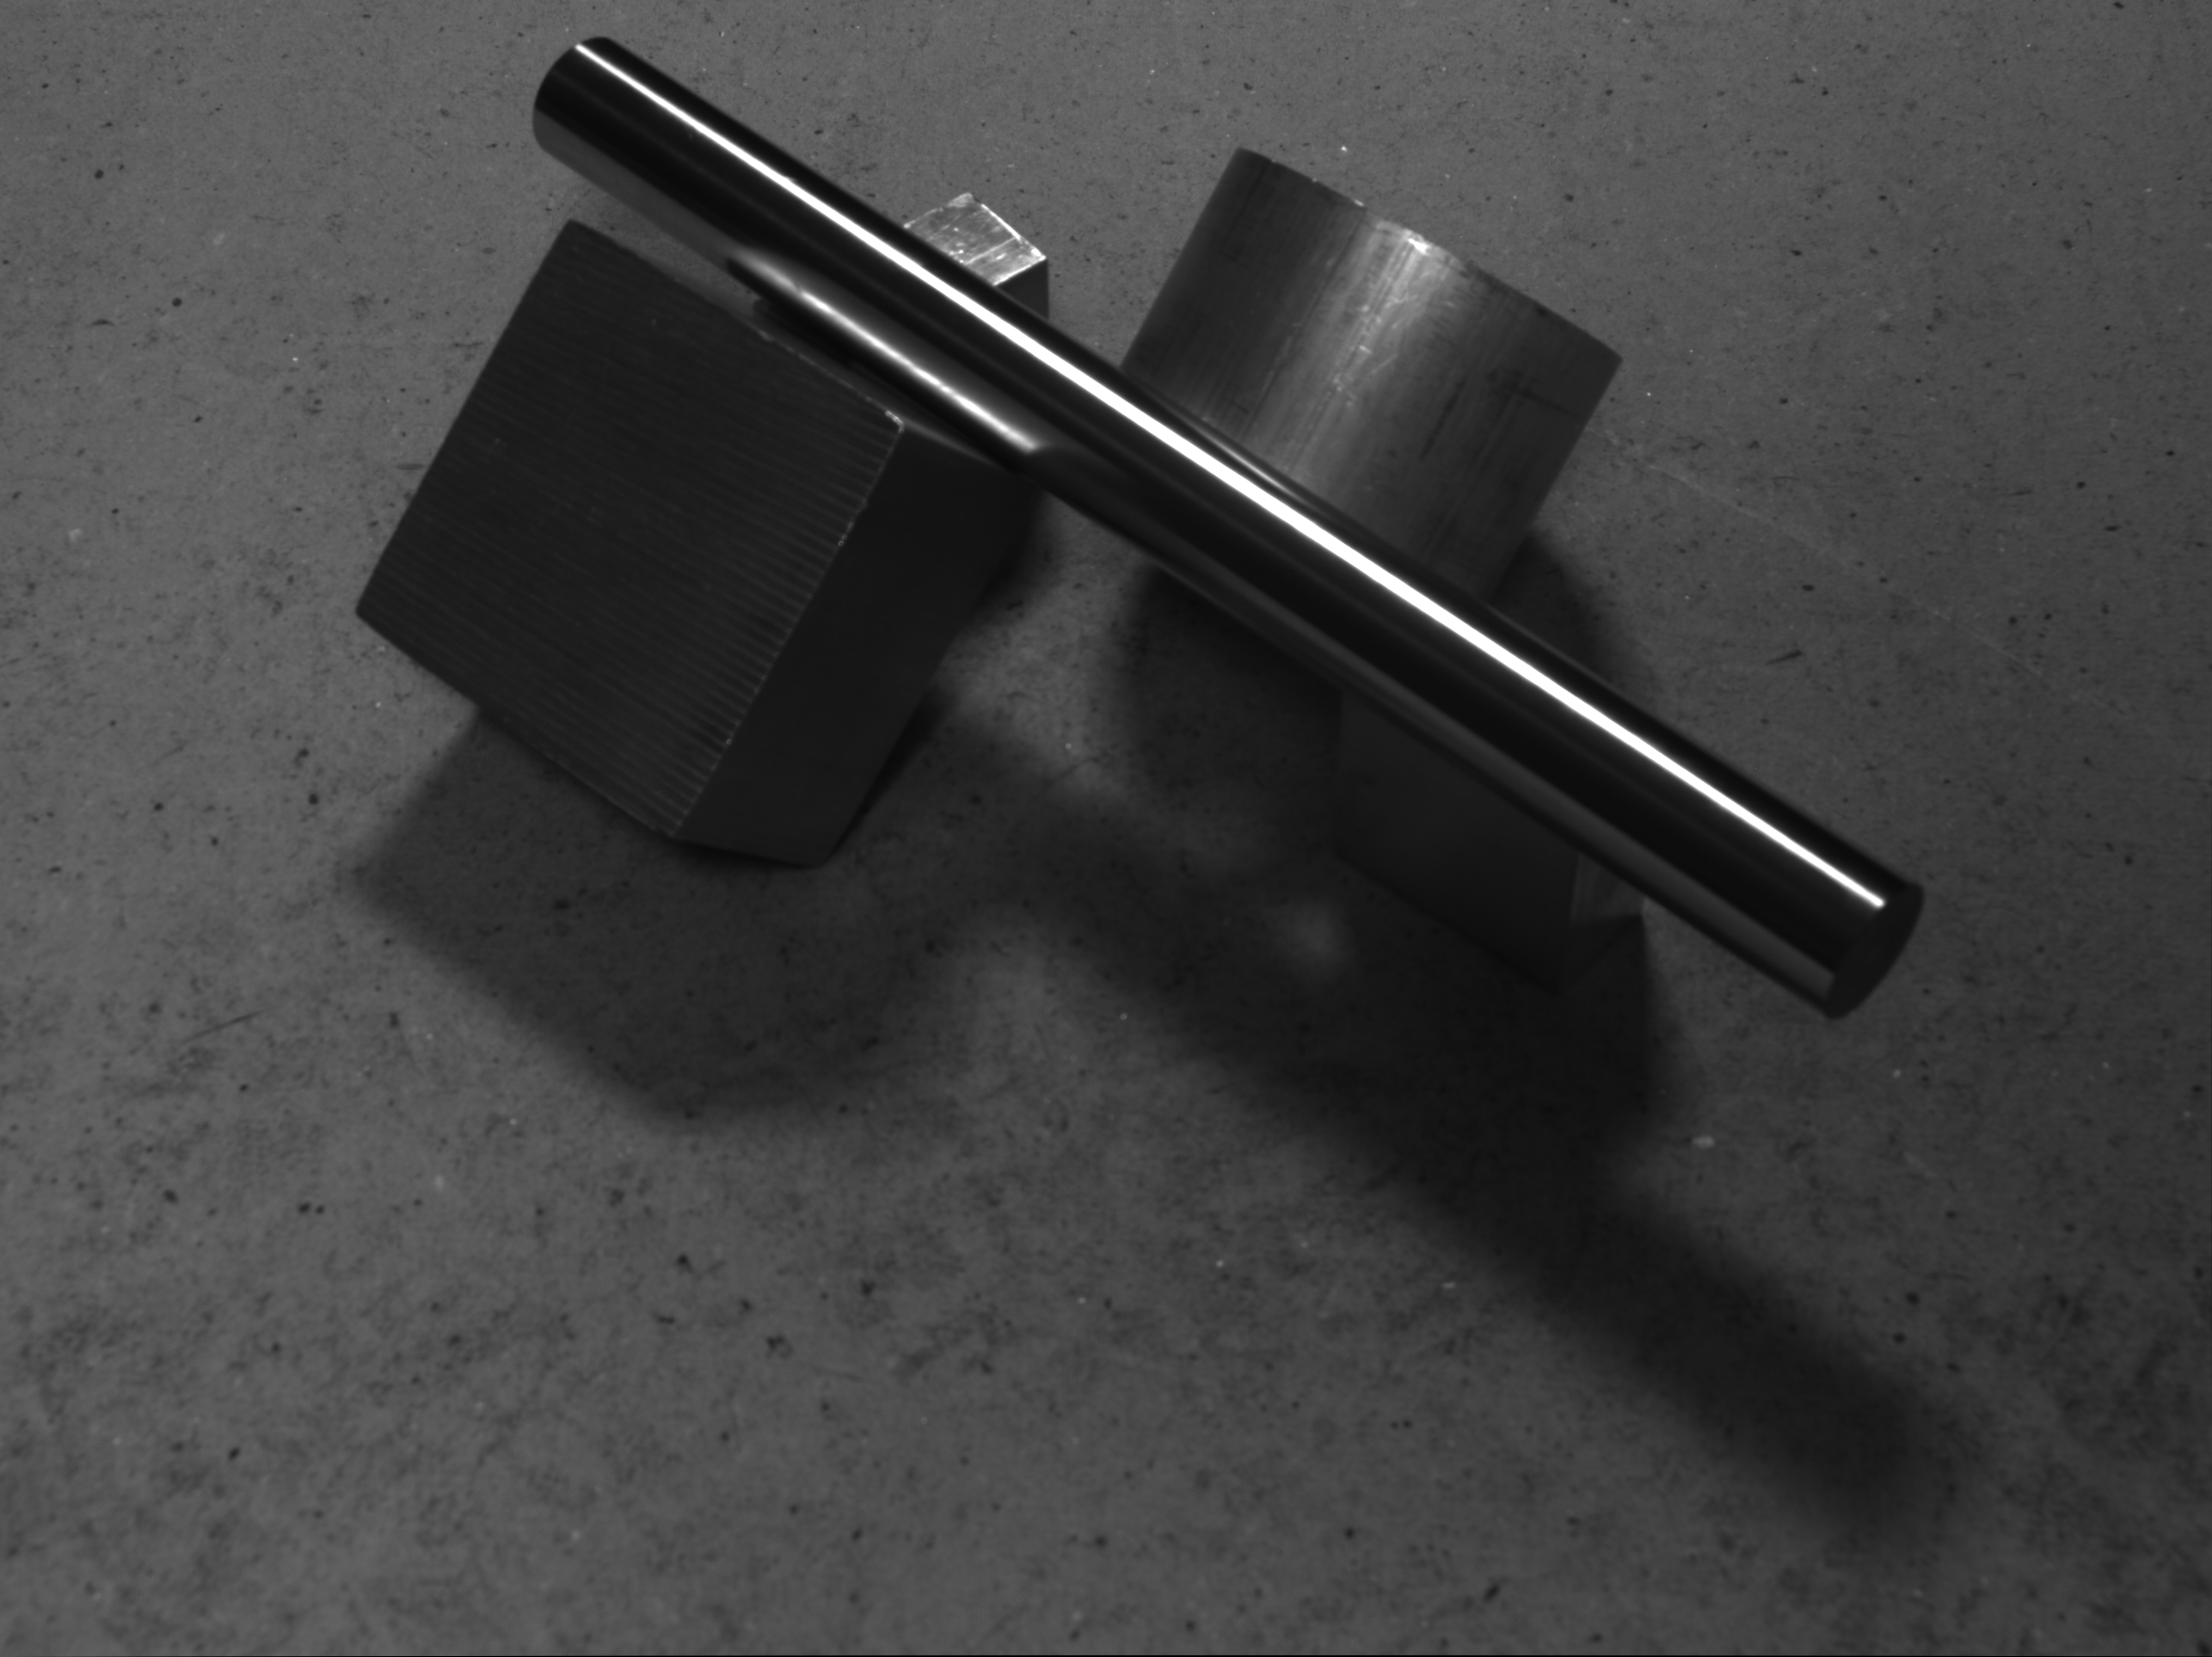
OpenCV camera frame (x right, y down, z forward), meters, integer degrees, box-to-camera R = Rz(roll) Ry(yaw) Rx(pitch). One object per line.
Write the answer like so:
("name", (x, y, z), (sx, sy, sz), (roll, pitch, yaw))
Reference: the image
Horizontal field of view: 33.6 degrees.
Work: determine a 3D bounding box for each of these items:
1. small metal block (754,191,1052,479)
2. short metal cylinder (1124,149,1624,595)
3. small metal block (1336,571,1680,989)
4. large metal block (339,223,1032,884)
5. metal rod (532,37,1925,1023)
("small metal block", (-0.038, -0.086, 0.699), (0.050, 0.050, 0.025), (-32, 57, -24))
("short metal cylinder", (0.047, -0.082, 0.668), (0.080, 0.080, 0.050), (32, 98, 24))
("small metal block", (0.068, -0.008, 0.629), (0.050, 0.050, 0.025), (34, 58, 25))
("large metal block", (-0.074, -0.047, 0.643), (0.080, 0.050, 0.080), (34, 98, 25))
("metal rod", (0.009, -0.060, 0.627), (0.299, 0.025, 0.025), (36, 59, 26))
